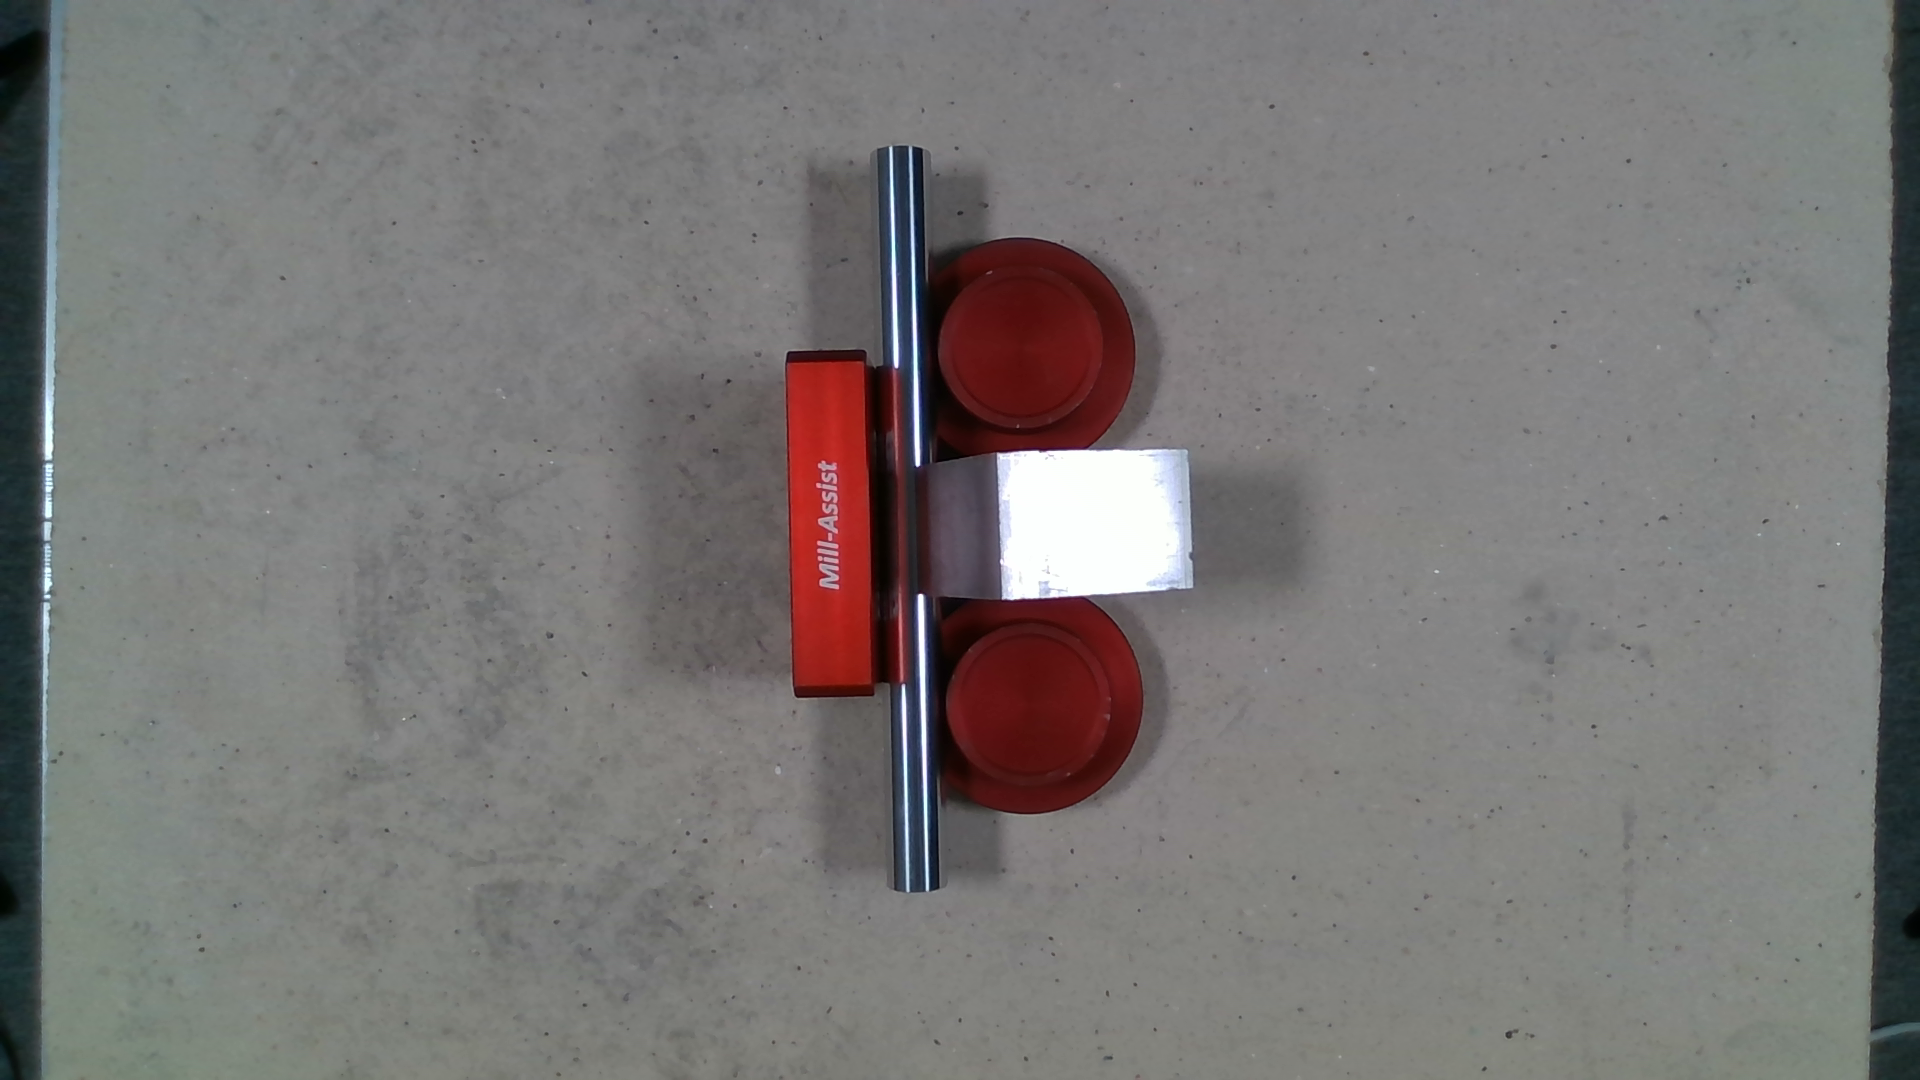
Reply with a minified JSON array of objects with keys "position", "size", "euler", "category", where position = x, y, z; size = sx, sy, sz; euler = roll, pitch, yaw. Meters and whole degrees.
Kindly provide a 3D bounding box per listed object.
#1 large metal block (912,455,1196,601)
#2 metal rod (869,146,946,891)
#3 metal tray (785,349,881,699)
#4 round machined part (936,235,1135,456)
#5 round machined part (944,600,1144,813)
[{"position":[0.034,-0.005,0.533],"size":[0.080,0.080,0.050],"euler":[-3,91,-24],"category":"large metal block"},{"position":[-0.021,-0.008,0.567],"size":[0.025,0.025,0.300],"euler":[-1,91,0],"category":"metal rod"},{"position":[-0.049,-0.006,0.554],"size":[0.030,0.090,0.130],"euler":[-1,90,0],"category":"metal tray"},{"position":[0.024,-0.079,0.576],"size":[0.098,0.042,0.098],"euler":[0,90,0],"category":"round machined part"},{"position":[0.028,0.066,0.578],"size":[0.098,0.042,0.098],"euler":[0,90,0],"category":"round machined part"}]
